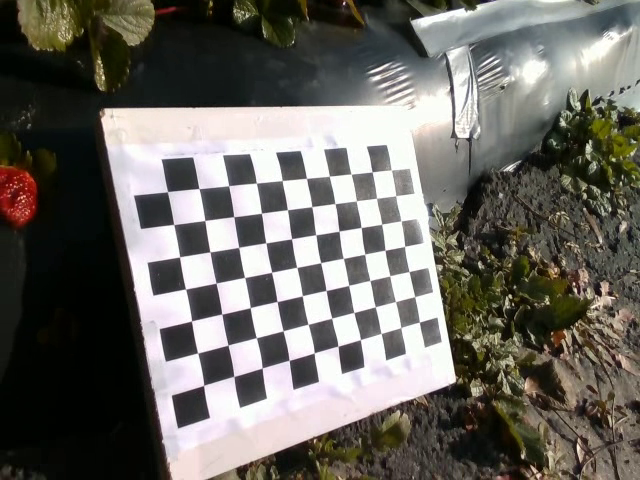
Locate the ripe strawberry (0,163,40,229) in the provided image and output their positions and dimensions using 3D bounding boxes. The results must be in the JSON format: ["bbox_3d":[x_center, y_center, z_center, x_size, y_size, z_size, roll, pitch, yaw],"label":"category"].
[{"bbox_3d":[-0.070,-0.010,0.139,0.016,0.015,0.023,0,32,-35],"label":"ripe strawberry"}]
